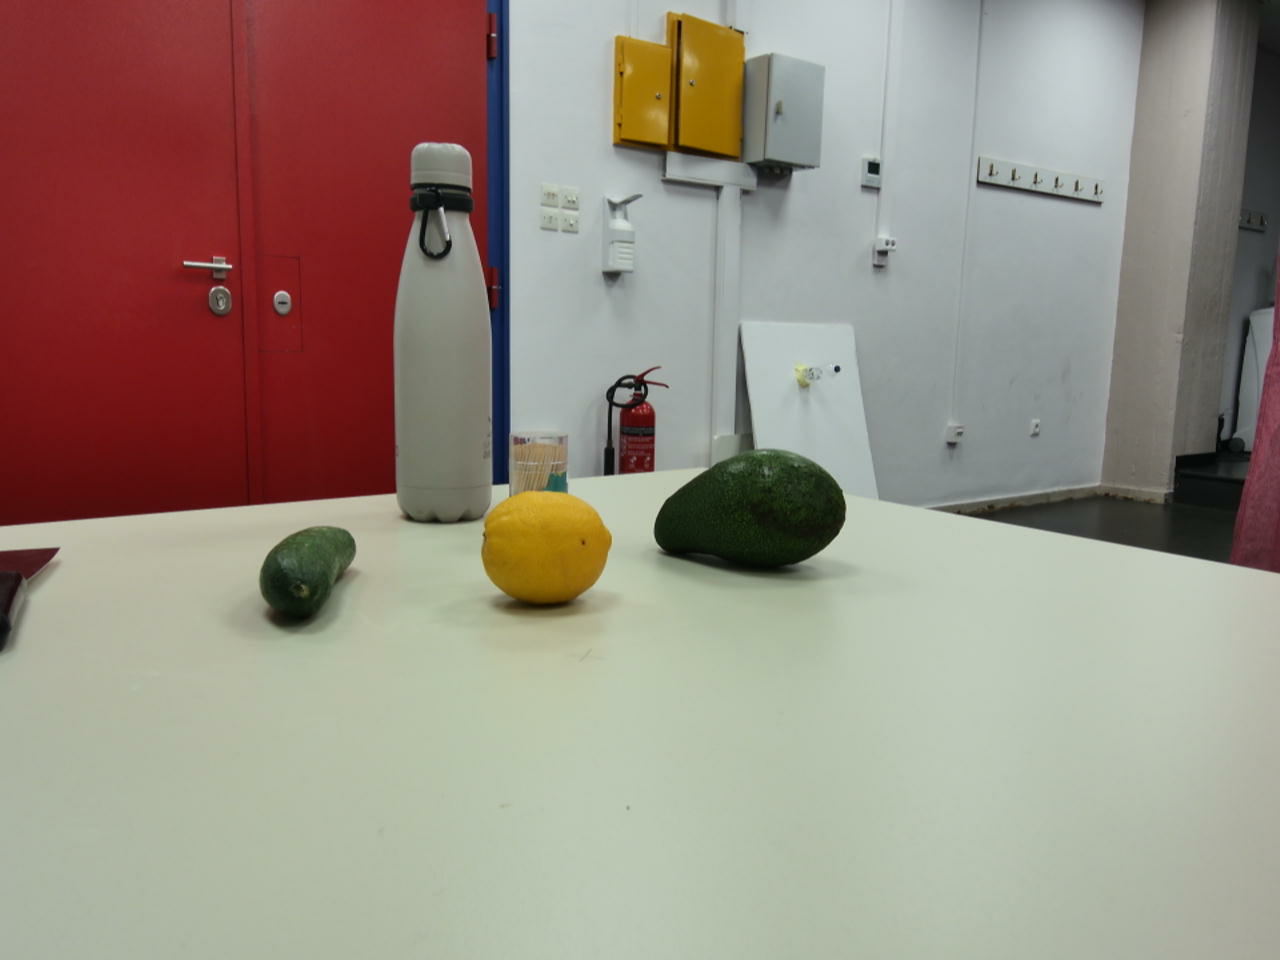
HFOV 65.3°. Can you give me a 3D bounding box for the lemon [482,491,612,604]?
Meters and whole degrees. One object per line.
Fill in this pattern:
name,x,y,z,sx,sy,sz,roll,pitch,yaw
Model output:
lemon,-0.050,0.036,0.529,0.067,0.059,0.061,1,7,5
